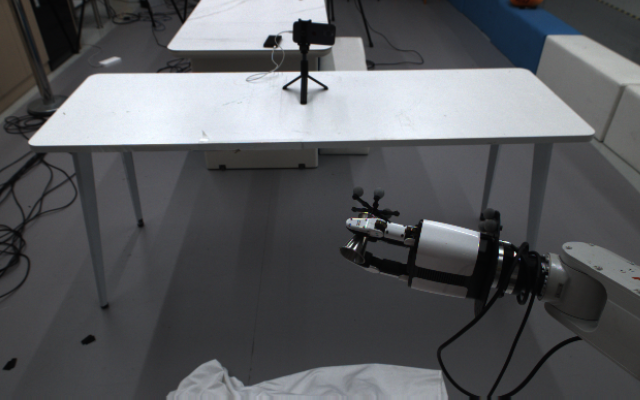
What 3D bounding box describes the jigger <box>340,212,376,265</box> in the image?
[{"bbox_3d":[0.062,0.053,0.737,0.043,0.043,0.071,19,61,23],"label":"jigger"}]
